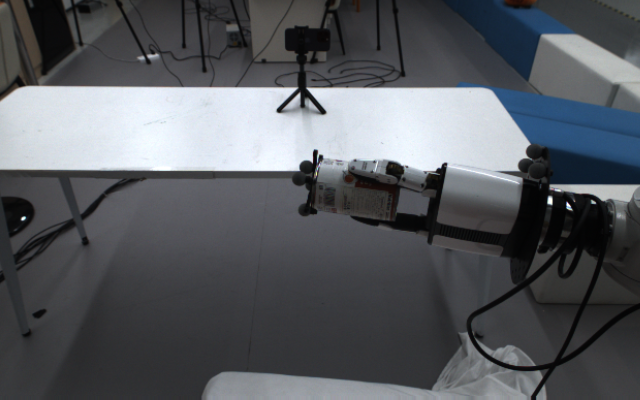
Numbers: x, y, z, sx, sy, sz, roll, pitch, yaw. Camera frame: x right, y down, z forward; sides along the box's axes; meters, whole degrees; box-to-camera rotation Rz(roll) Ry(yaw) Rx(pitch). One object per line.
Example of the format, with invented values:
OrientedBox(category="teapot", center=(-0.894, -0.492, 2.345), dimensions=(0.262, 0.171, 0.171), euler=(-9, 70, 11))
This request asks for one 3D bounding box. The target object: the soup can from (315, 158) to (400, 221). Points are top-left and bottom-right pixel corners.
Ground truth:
OrientedBox(category="soup can", center=(0.049, -0.013, 0.596), dimensions=(0.101, 0.067, 0.067), euler=(8, 35, 9))
